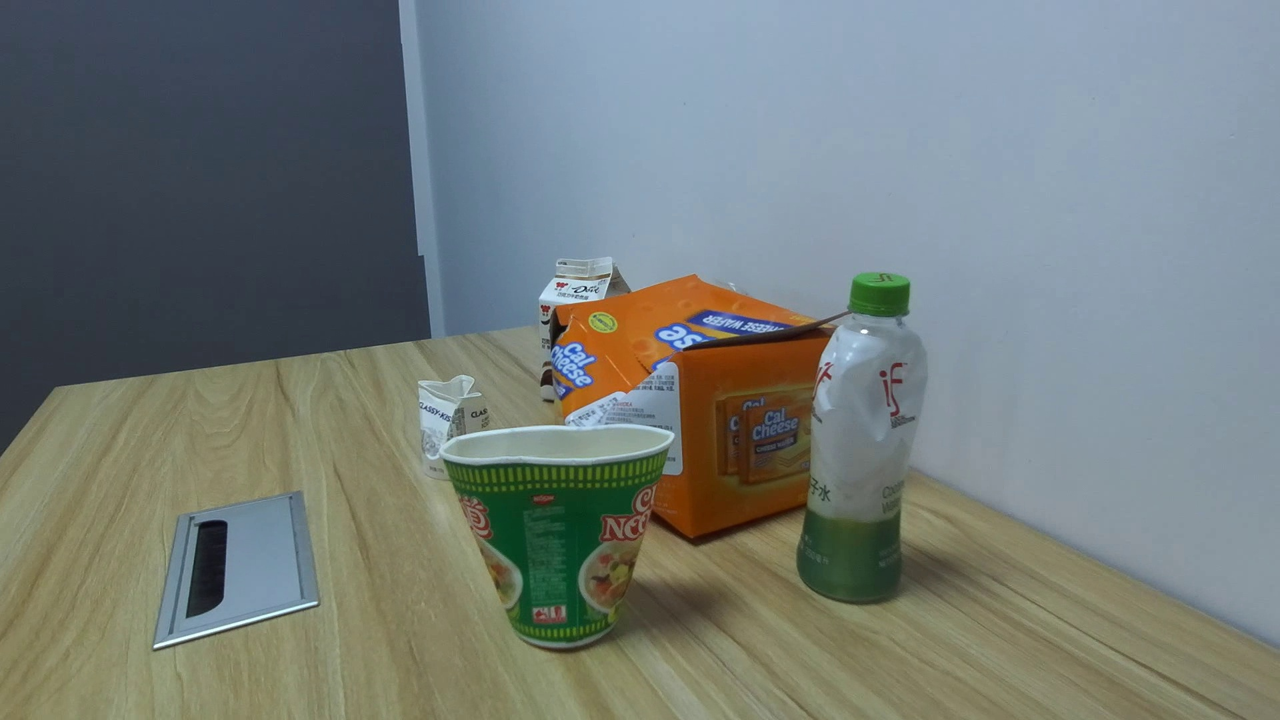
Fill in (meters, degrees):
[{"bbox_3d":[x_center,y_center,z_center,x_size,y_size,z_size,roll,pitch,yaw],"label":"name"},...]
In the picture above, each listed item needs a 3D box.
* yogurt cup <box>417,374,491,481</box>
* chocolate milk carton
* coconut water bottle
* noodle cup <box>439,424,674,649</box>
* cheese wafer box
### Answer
[{"bbox_3d":[-0.151,0.055,0.584,0.055,0.072,0.054,-7,20,-21],"label":"yogurt cup"},{"bbox_3d":[-0.053,-0.034,0.728,0.075,0.148,0.074,8,19,25],"label":"chocolate milk carton"},{"bbox_3d":[0.130,0.044,0.411,0.067,0.187,0.067,1,18,0],"label":"coconut water bottle"},{"bbox_3d":[-0.044,0.091,0.389,0.115,0.111,0.070,6,21,16],"label":"noodle cup"},{"bbox_3d":[0.029,0.021,0.563,0.192,0.145,0.218,-10,20,-30],"label":"cheese wafer box"}]
